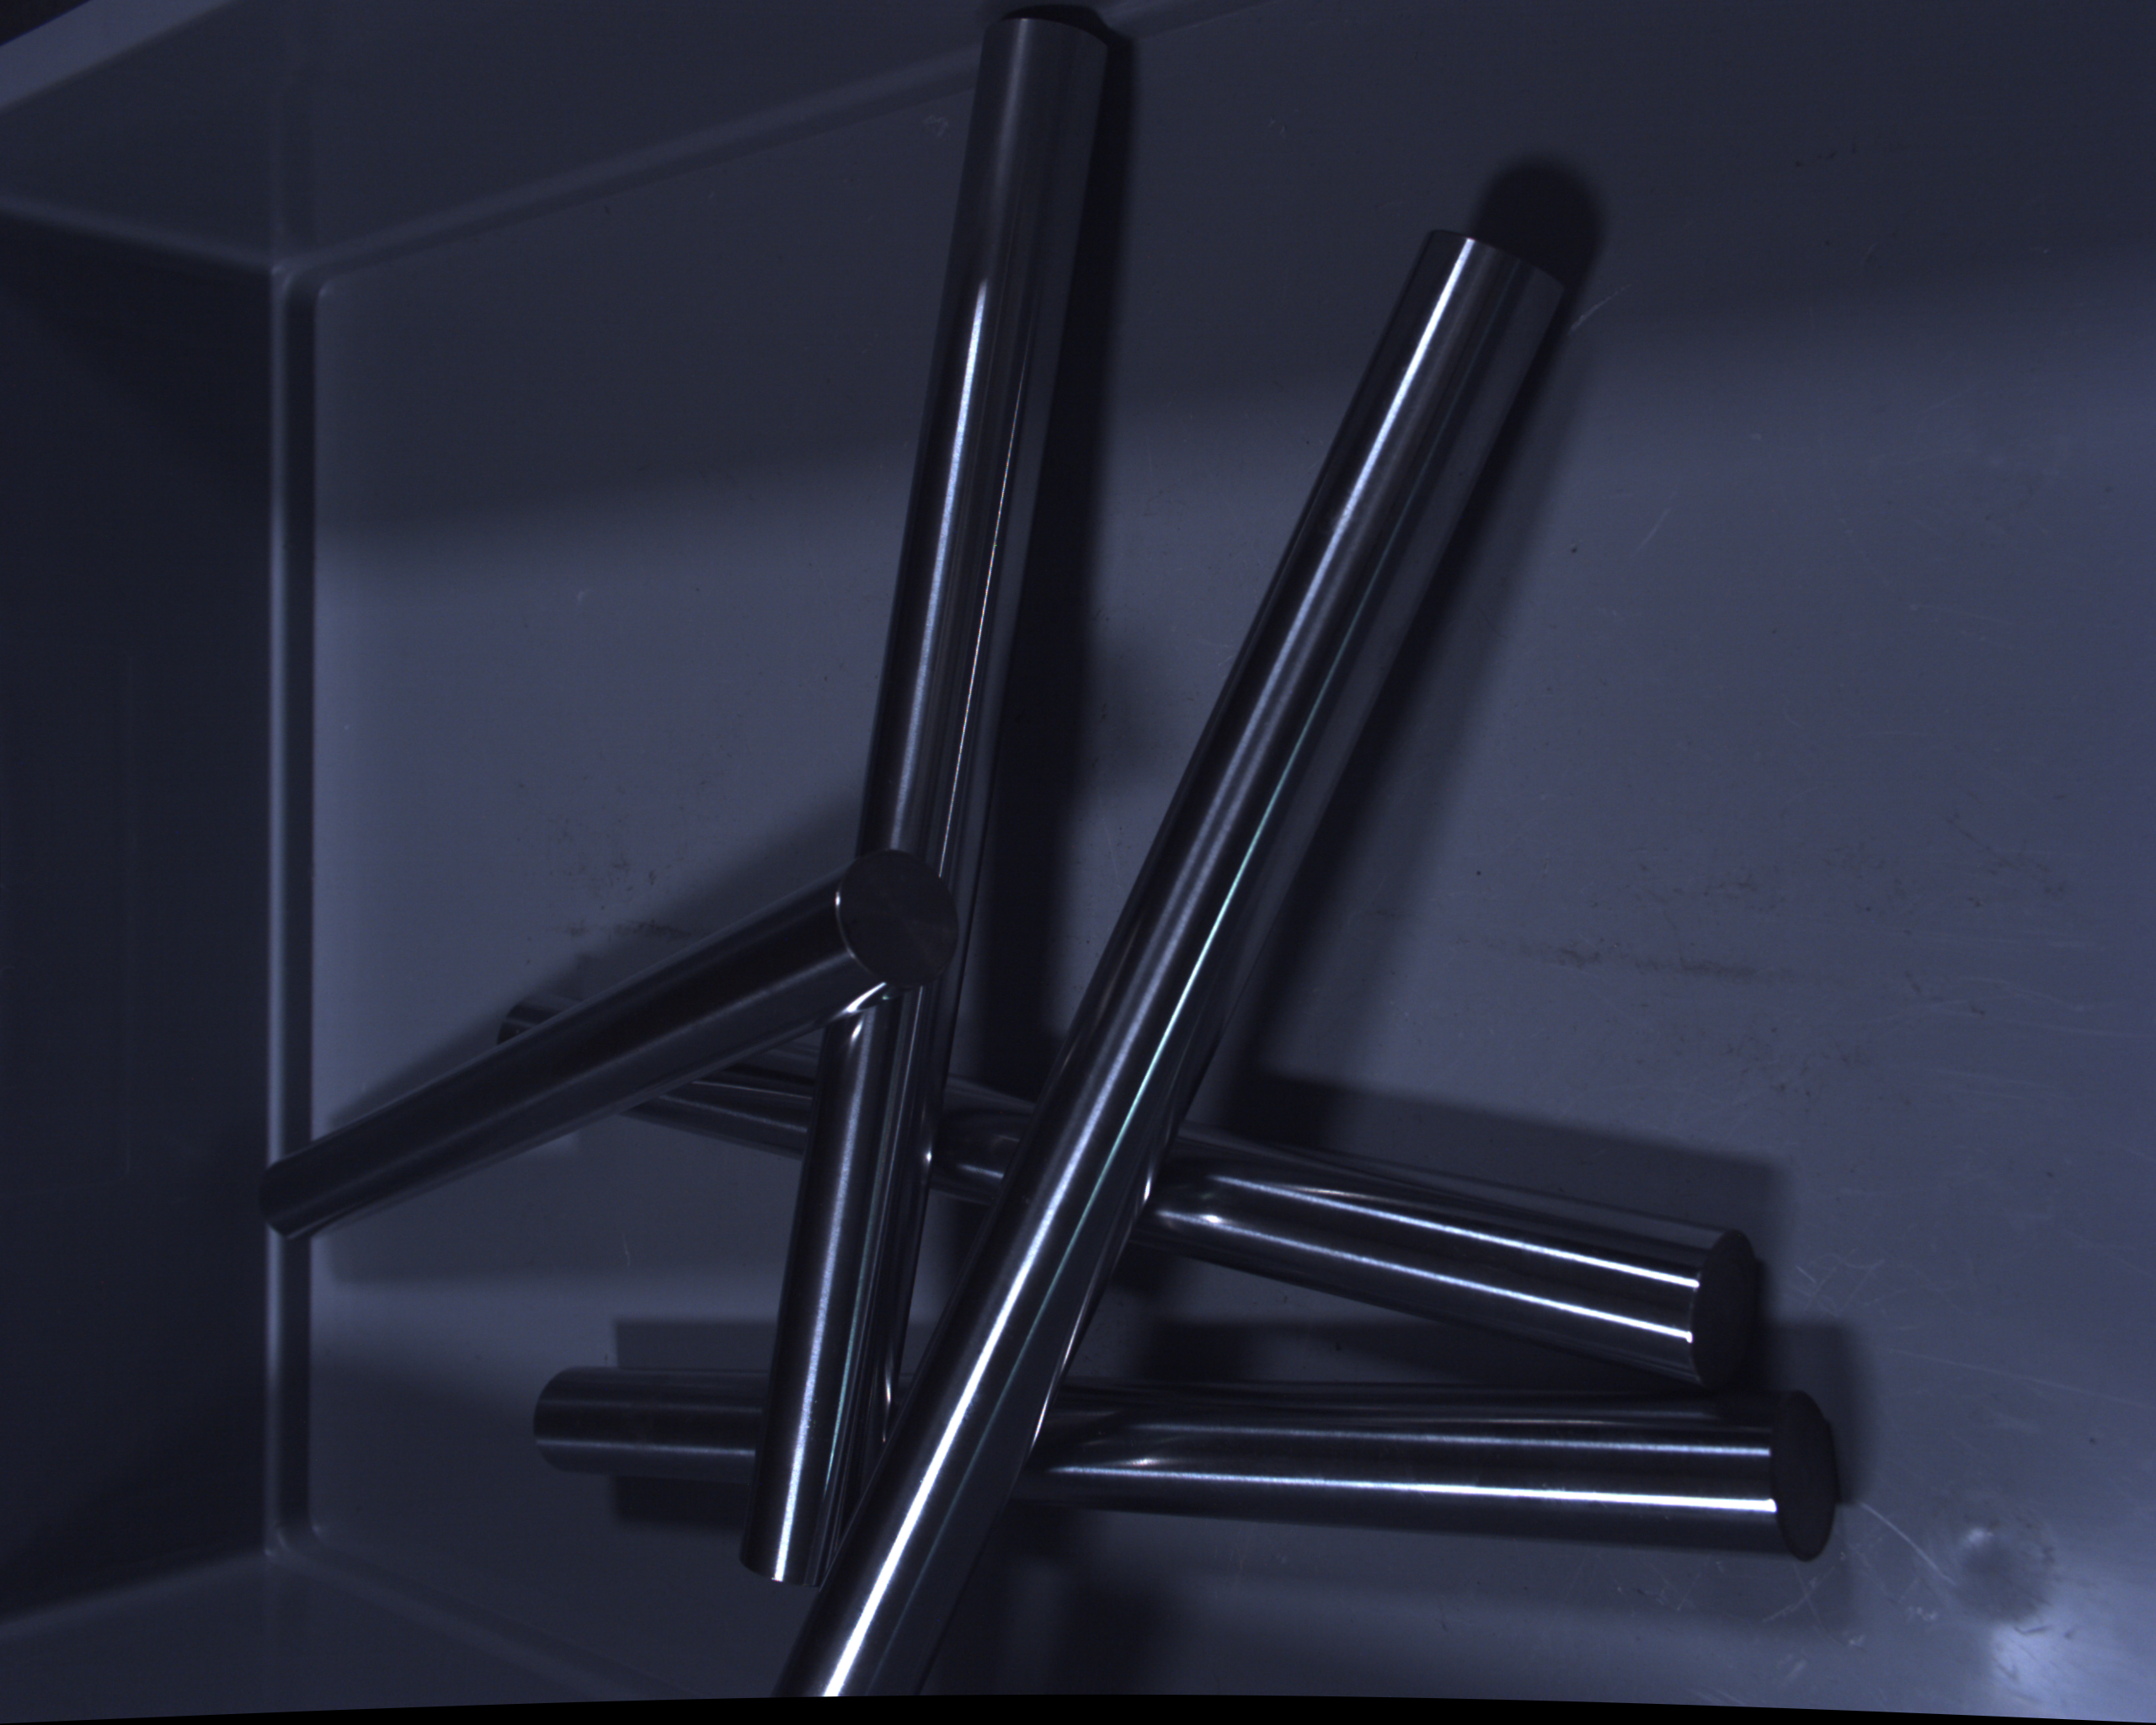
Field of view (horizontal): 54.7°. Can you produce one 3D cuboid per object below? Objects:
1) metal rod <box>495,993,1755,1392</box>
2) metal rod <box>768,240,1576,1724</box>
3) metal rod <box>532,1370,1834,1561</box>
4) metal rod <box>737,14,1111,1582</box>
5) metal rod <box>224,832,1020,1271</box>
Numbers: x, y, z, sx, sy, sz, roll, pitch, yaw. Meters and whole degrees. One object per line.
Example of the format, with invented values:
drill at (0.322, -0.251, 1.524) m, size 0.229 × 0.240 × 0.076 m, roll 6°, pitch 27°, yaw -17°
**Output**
metal rod at (-0.016, 0.057, 0.416) m, size 0.300 × 0.025 × 0.025 m, roll 6°, pitch 94°, yaw 39°
metal rod at (0.011, 0.037, 0.368) m, size 0.025 × 0.025 × 0.298 m, roll 30°, pitch 101°, yaw 35°
metal rod at (-0.006, 0.113, 0.408) m, size 0.300 × 0.025 × 0.025 m, roll -10°, pitch 84°, yaw 39°
metal rod at (-0.030, -0.013, 0.405) m, size 0.025 × 0.025 × 0.298 m, roll 9°, pitch 89°, yaw 39°
metal rod at (-0.120, 0.053, 0.469) m, size 0.299 × 0.025 × 0.025 m, roll -25°, pitch 75°, yaw 42°
